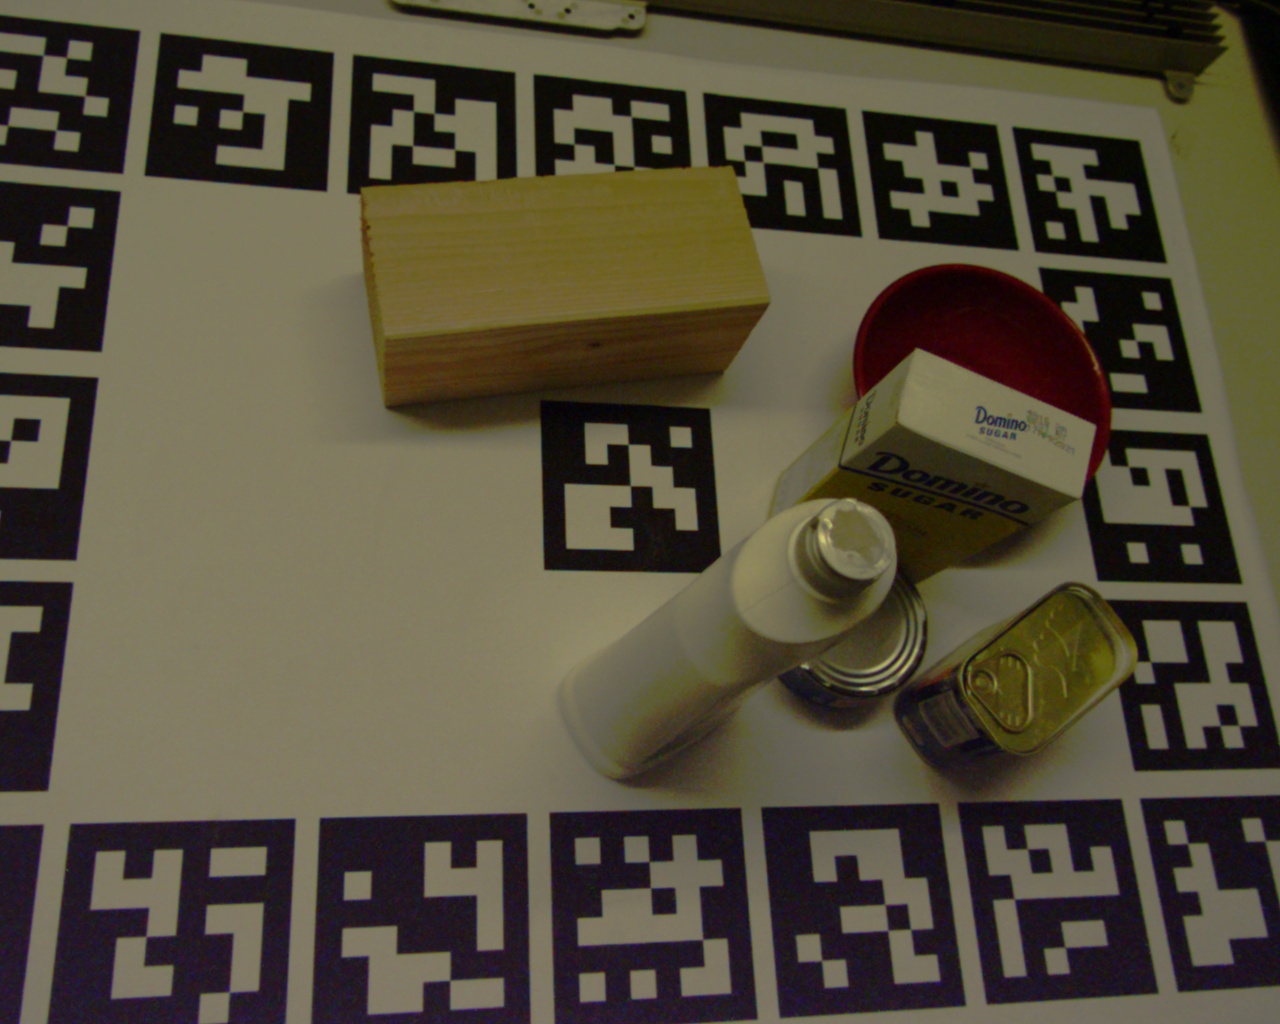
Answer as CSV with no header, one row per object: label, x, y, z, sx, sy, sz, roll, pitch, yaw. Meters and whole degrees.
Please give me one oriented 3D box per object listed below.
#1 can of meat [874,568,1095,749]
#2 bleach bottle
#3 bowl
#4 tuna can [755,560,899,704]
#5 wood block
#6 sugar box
can of meat,0.190,0.086,0.646,0.101,0.084,0.058,-30,77,-22
bleach bottle,0.030,0.054,0.529,0.102,0.251,0.068,-25,77,-20
bowl,0.193,-0.071,0.715,0.161,0.055,0.162,2,70,-8
tuna can,0.102,0.067,0.654,0.085,0.034,0.086,3,73,-11
wood block,-0.058,-0.121,0.664,0.205,0.090,0.091,-9,77,-16
sugar box,0.135,-0.014,0.614,0.093,0.177,0.045,20,69,-2
